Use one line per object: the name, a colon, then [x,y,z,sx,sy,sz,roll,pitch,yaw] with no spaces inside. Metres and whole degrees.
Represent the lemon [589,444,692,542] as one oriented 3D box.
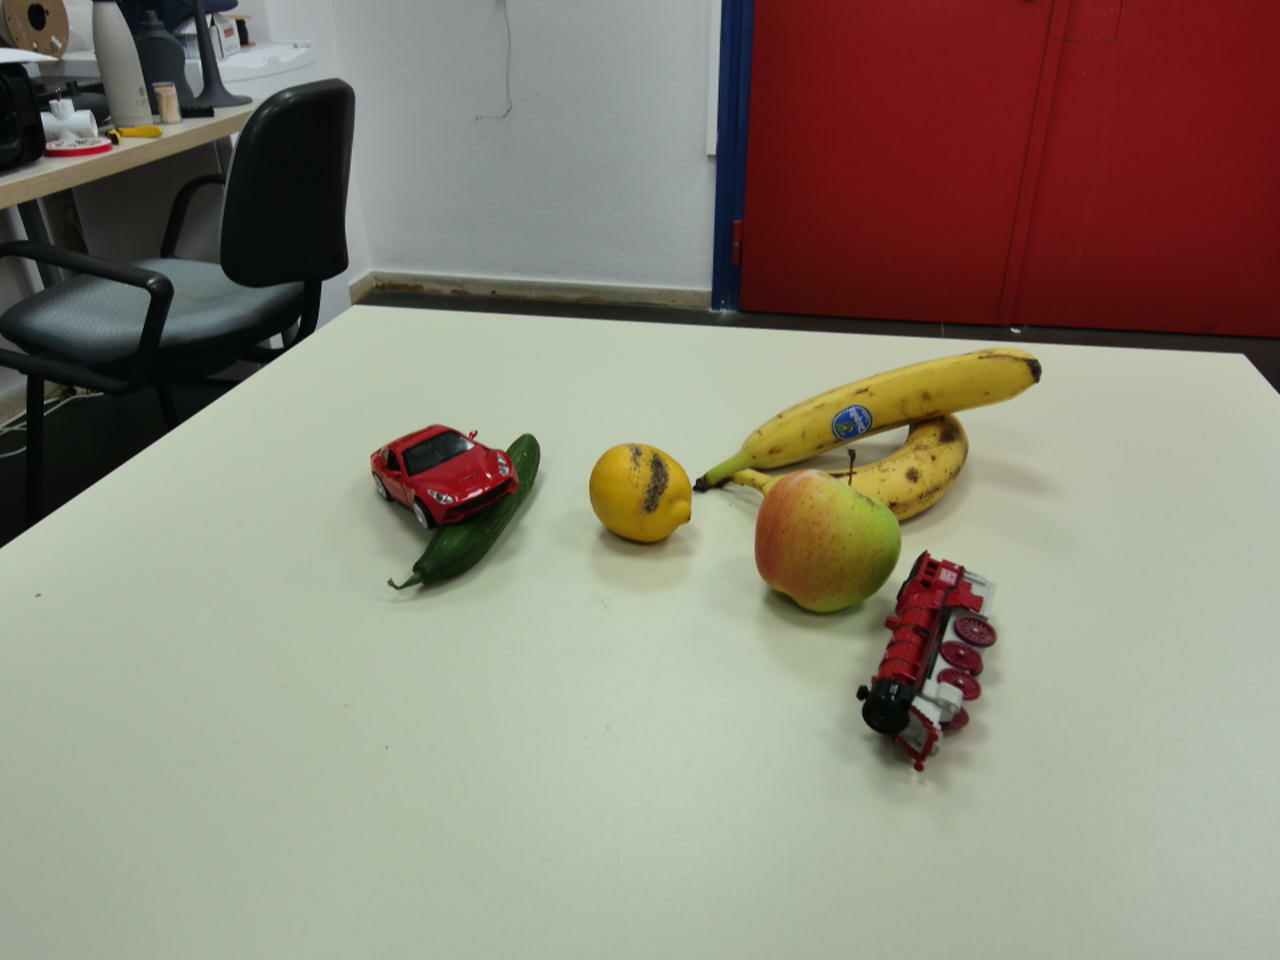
lemon: [0.001,0.007,0.589,0.061,0.056,0.058,1,26,4]
